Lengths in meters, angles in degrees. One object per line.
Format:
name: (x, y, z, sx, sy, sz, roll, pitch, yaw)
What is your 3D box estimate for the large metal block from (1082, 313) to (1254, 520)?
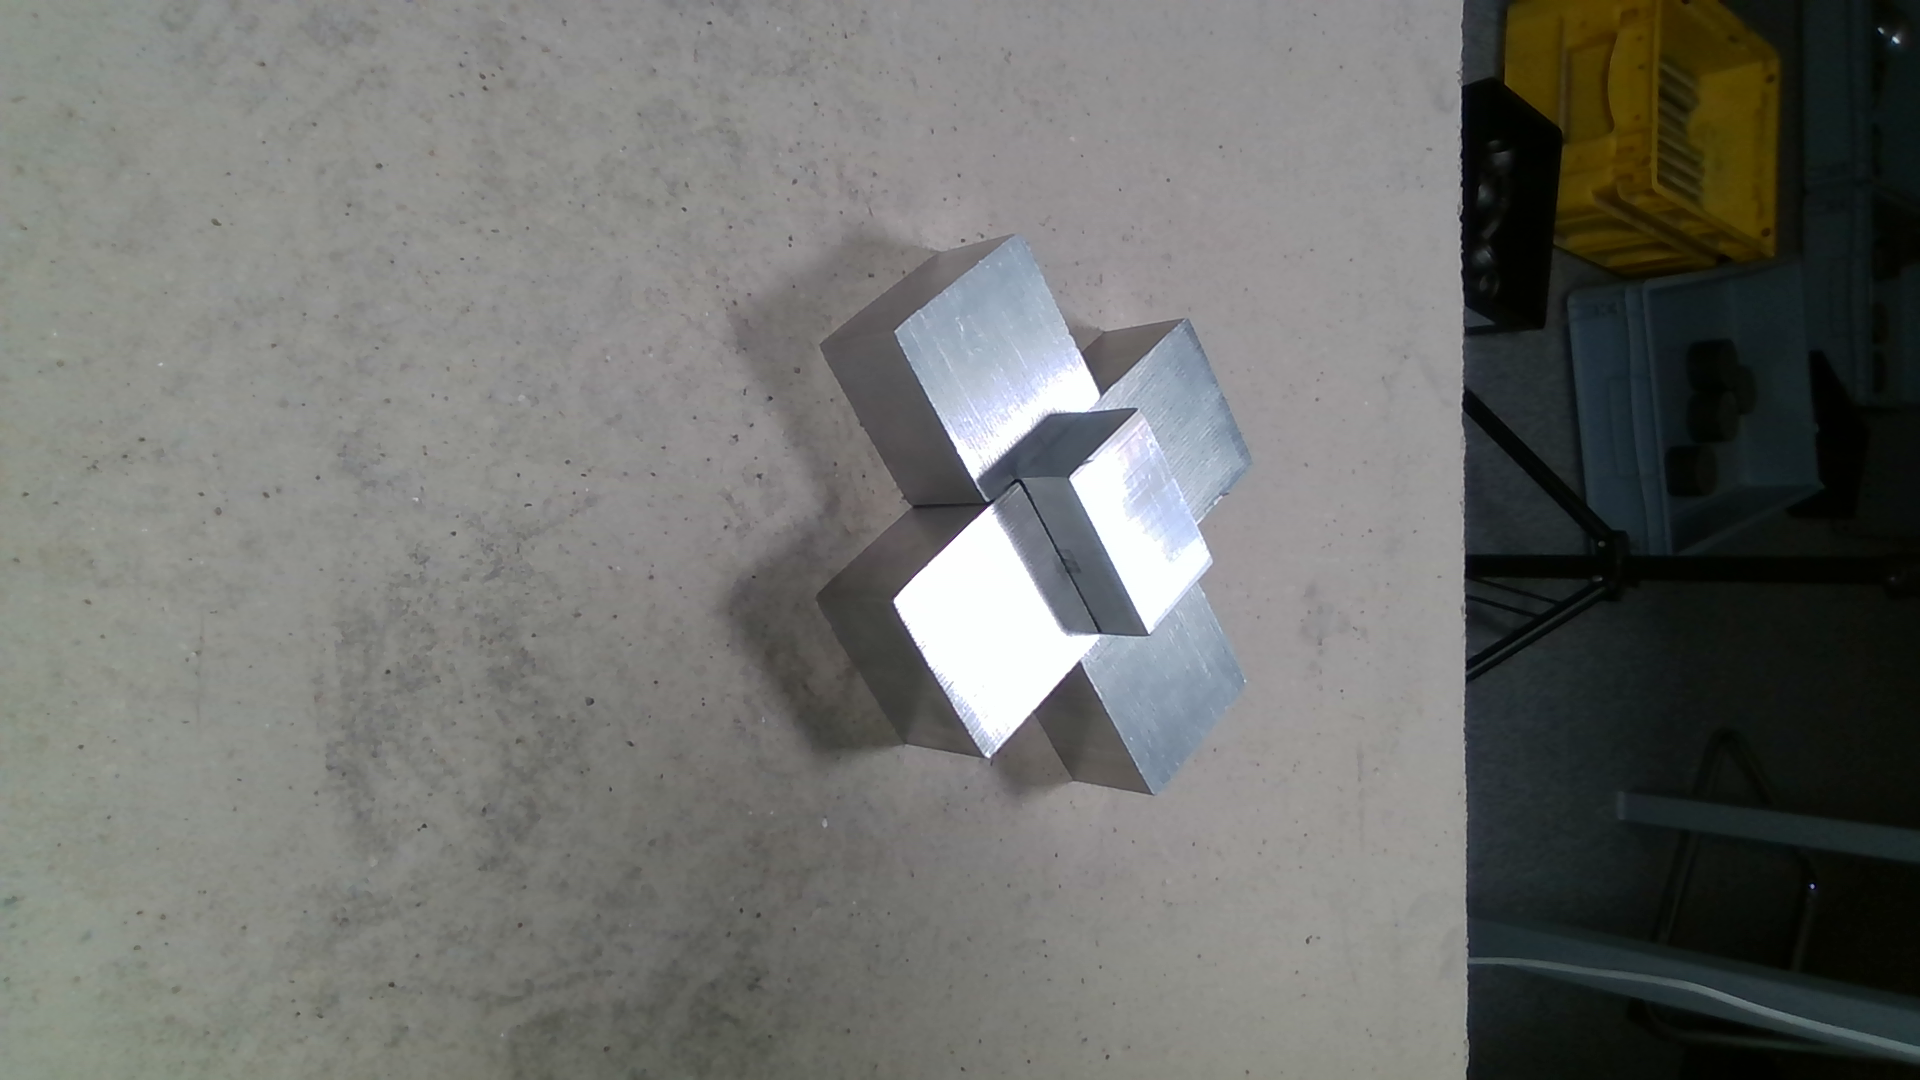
large metal block: (0.080, -0.046, 0.634, 0.080, 0.050, 0.080, -44, 117, -31)

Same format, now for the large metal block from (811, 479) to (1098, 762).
large metal block: (0.000, 0.031, 0.566, 0.080, 0.050, 0.080, -44, 117, -31)

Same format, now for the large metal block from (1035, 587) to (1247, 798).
large metal block: (0.076, 0.058, 0.630, 0.080, 0.050, 0.080, -44, 117, -31)

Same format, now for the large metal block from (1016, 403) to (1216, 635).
large metal block: (0.050, -0.008, 0.589, 0.050, 0.080, 0.080, -44, 117, -31)

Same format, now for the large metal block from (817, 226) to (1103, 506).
large metal block: (0.002, -0.070, 0.567, 0.080, 0.050, 0.080, -44, 117, -31)
